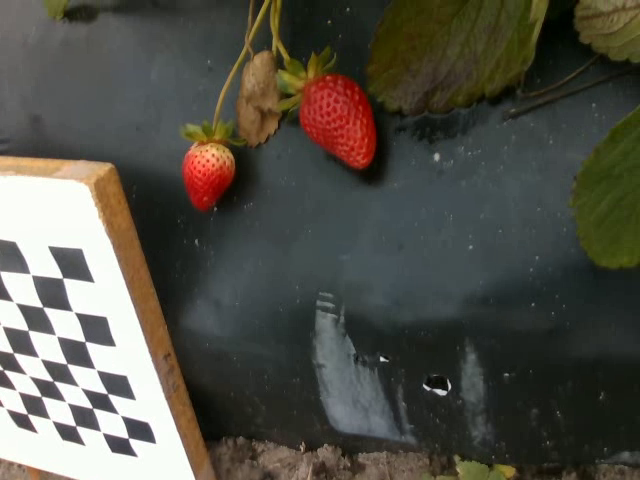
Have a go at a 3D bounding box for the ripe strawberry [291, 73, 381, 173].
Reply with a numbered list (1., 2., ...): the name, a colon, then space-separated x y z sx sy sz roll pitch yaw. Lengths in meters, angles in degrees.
1. ripe strawberry: 0.008 -0.057 0.268 0.041 0.059 0.044 -23 -14 -40

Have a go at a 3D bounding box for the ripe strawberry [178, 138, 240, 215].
1. ripe strawberry: -0.063 -0.035 0.298 0.036 0.041 0.027 11 17 29
